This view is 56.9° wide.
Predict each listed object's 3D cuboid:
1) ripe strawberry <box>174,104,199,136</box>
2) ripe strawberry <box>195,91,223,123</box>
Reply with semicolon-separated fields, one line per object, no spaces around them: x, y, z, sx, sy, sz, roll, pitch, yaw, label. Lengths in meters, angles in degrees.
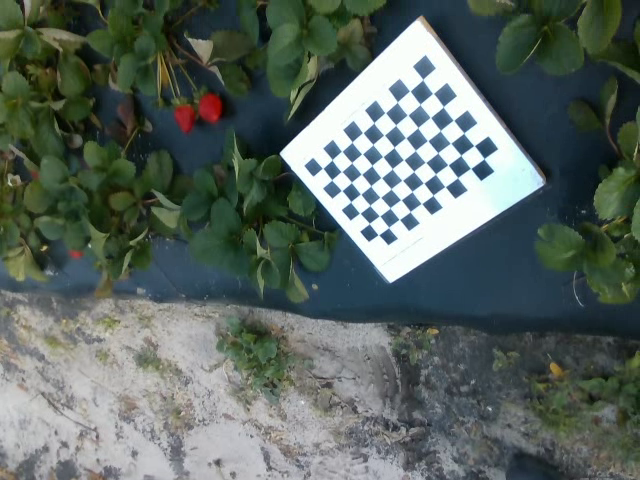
-0.261;-0.229;1.129;0.049;0.055;0.041;-20;-9;31;ripe strawberry
-0.210;-0.238;1.094;0.051;0.057;0.064;-2;43;-40;ripe strawberry
